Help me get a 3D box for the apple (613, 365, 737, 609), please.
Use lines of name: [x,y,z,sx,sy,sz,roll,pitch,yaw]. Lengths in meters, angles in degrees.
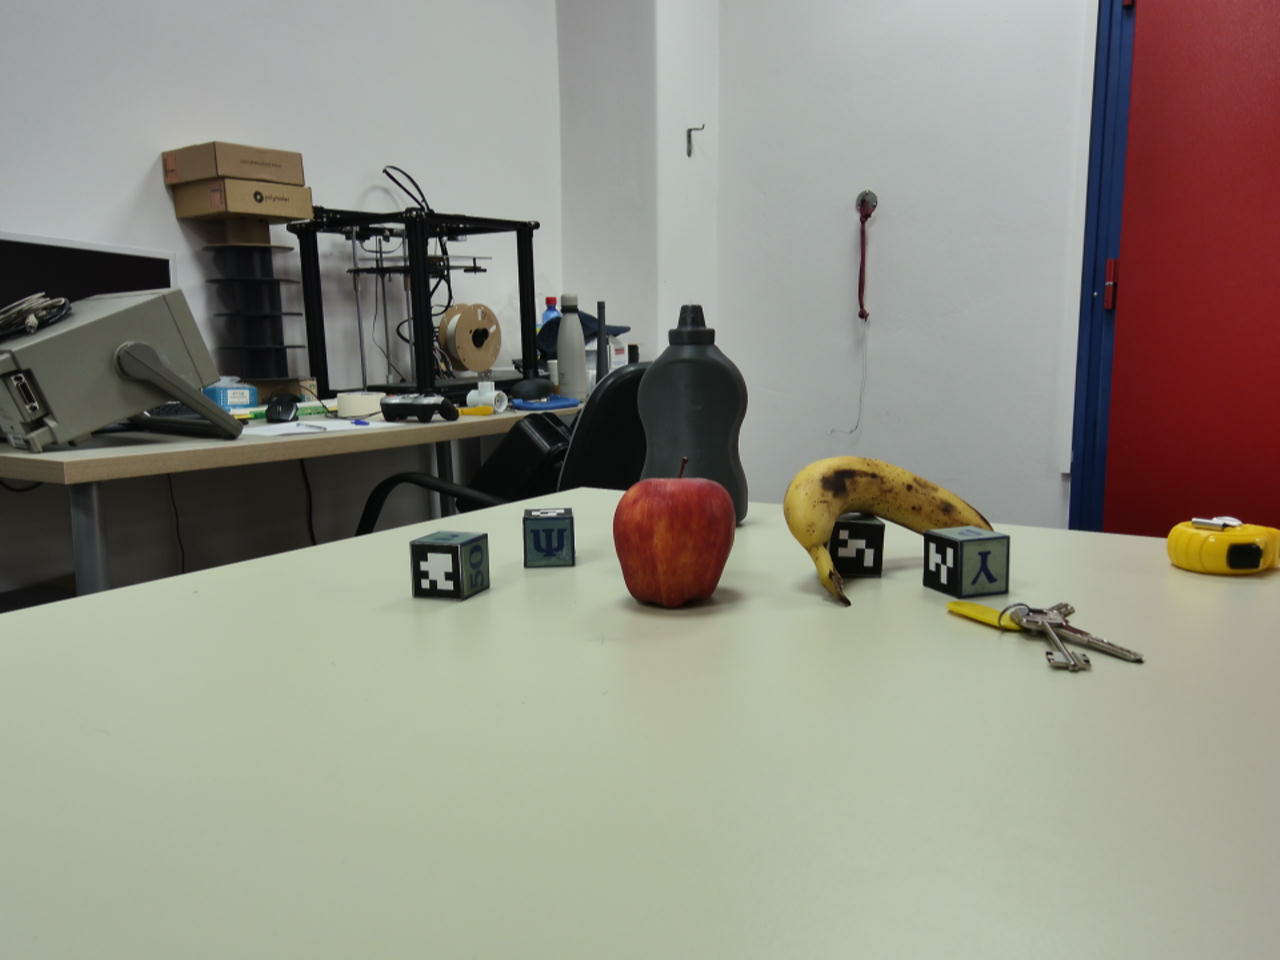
apple: [0.022,0.030,0.627,0.083,0.090,0.083,0,6,0]
